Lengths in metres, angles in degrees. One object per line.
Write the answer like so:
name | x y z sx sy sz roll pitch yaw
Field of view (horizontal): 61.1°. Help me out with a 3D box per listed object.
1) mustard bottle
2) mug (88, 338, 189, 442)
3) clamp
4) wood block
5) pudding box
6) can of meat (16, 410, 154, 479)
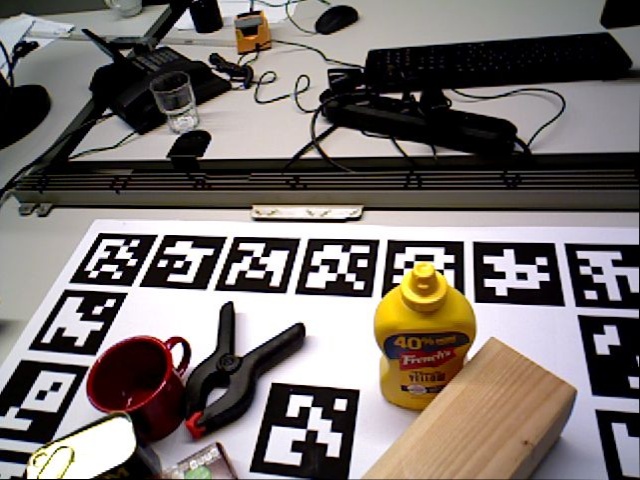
mustard bottle | 0.098 0.083 0.508 0.096 0.195 0.057 -2 47 9
mug | -0.187 0.162 0.606 0.093 0.083 0.115 20 55 27
clamp | -0.100 0.138 0.616 0.122 0.037 0.162 18 55 24
wood block | 0.130 0.197 0.472 0.202 0.092 0.090 -37 49 -24
pudding box | -0.123 0.256 0.502 0.112 0.039 0.089 -27 48 -16
can of meat | -0.219 0.219 0.518 0.101 0.085 0.057 -21 48 -9
